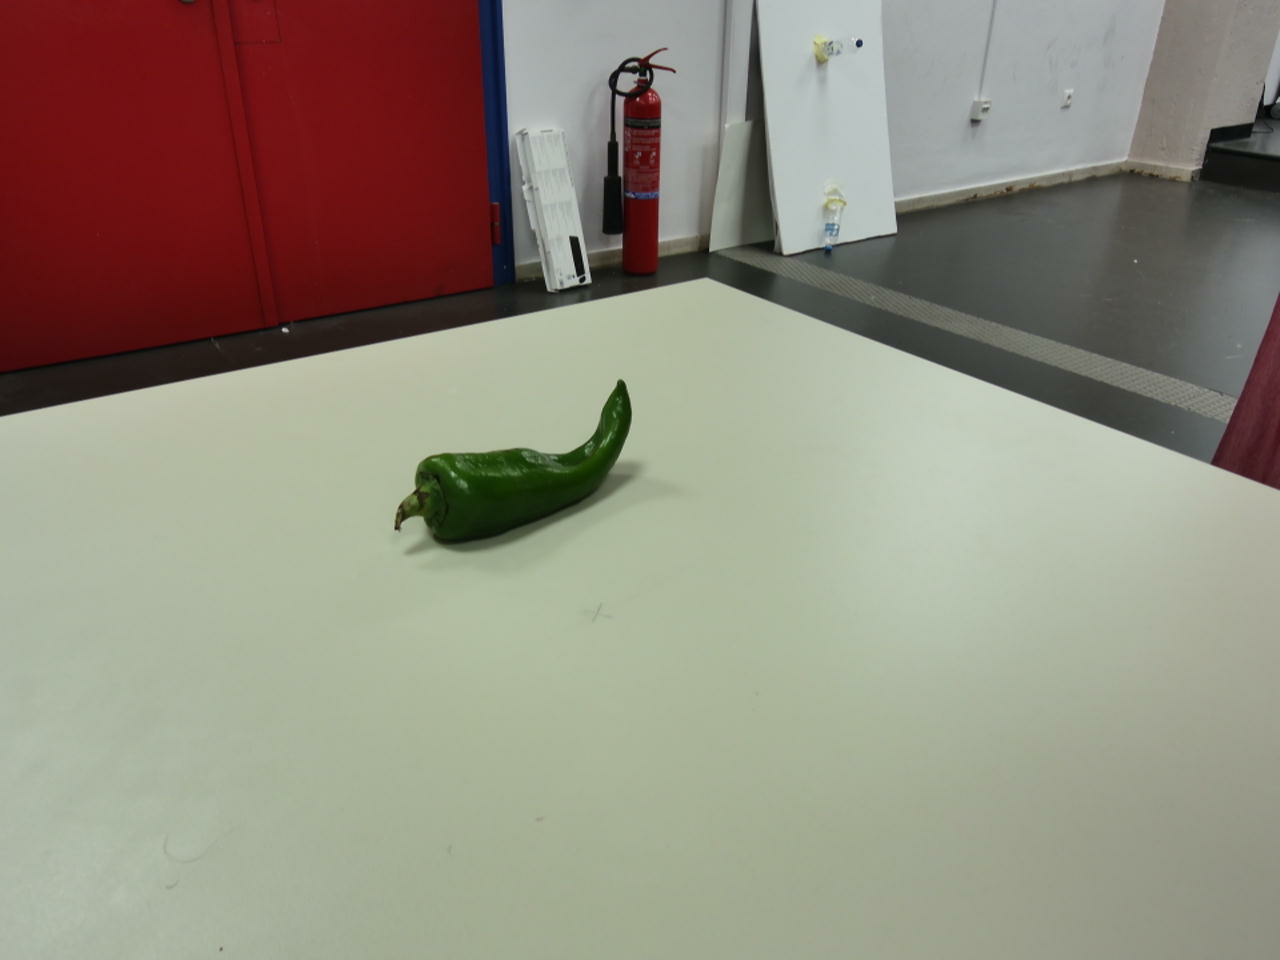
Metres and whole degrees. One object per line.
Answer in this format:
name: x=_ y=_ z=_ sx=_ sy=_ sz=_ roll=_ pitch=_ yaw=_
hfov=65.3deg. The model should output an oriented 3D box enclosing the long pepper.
long pepper: x=-0.069 y=-0.010 z=0.600 sx=0.175 sy=0.065 sz=0.058 roll=-19 pitch=32 yaw=-34
